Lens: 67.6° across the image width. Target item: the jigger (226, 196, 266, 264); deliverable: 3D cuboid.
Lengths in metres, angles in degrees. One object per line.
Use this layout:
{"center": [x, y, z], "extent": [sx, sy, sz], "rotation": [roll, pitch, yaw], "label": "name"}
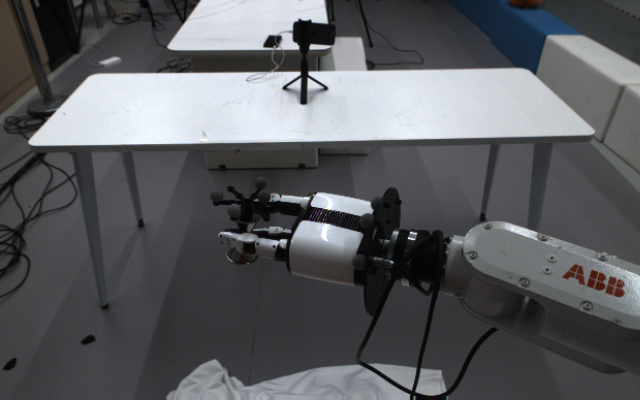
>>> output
{"center": [-0.102, 0.047, 0.652], "extent": [0.043, 0.071, 0.043], "rotation": [9, 30, -5], "label": "jigger"}
